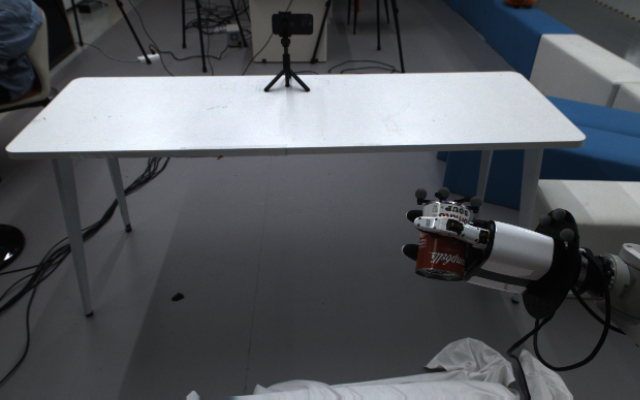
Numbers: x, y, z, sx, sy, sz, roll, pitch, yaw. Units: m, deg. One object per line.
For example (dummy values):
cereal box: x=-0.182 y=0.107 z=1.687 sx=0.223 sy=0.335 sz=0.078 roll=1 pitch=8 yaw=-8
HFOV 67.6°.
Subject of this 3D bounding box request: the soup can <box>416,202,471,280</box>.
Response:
soup can: x=0.177 y=0.058 z=0.689 sx=0.067 sy=0.067 sz=0.101 roll=8 pitch=72 yaw=9
